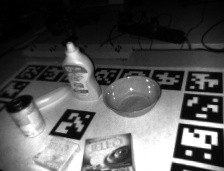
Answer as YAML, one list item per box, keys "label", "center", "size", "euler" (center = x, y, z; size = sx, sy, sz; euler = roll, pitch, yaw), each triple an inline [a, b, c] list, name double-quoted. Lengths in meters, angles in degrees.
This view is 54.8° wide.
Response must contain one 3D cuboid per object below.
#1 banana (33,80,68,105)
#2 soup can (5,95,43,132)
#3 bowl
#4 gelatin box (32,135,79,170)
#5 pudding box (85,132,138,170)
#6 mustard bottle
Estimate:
- label: "banana"
  center: [-0.235, 0.032, 0.723]
  size: [0.198, 0.039, 0.073]
  euler: [-26, 29, -16]
- label: "soup can"
  center: [-0.242, 0.073, 0.604]
  size: [0.068, 0.103, 0.067]
  euler: [-7, 37, 6]
- label: "bowl"
  center: [0.064, 0.029, 0.624]
  size: [0.161, 0.055, 0.161]
  euler: [-9, 36, 8]
- label: "gelatin box"
  center: [-0.138, 0.165, 0.527]
  size: [0.088, 0.030, 0.073]
  euler: [8, 45, 27]
- label: "pudding box"
  center: [-0.004, 0.151, 0.496]
  size: [0.114, 0.039, 0.089]
  euler: [-12, 43, 3]
- label: "mustard bottle"
  center: [-0.104, -0.055, 0.647]
  size: [0.095, 0.193, 0.058]
  euler: [3, 38, 22]
